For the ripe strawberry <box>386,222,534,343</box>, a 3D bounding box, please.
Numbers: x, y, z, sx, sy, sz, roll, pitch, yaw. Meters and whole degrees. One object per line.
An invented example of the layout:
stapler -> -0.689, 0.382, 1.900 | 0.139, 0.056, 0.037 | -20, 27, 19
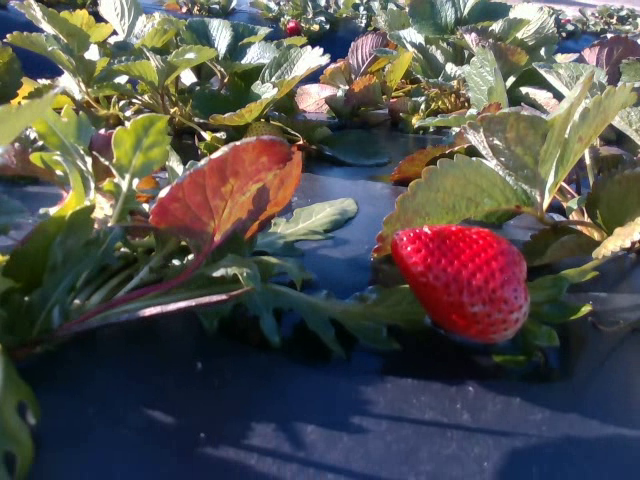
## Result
ripe strawberry -> 0.039, 0.010, 0.183 | 0.053, 0.044, 0.036 | 23, -35, -17
